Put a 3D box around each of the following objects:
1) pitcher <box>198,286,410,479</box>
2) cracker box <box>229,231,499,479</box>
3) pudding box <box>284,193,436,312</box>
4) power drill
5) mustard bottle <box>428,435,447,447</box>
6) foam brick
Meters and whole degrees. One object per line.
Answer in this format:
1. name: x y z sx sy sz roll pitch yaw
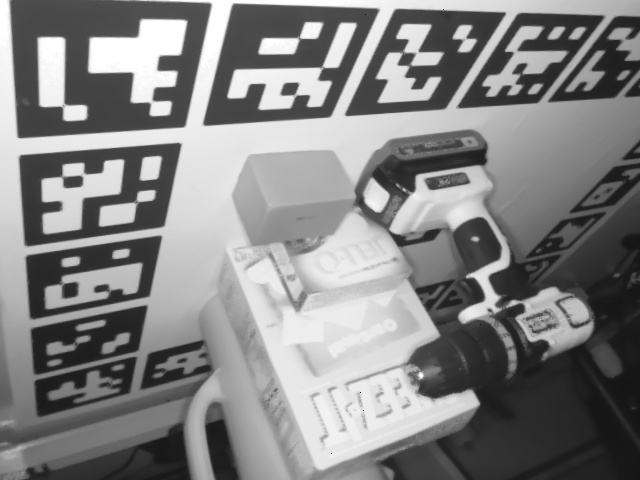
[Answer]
1. pitcher: -0.033 0.156 0.671 0.192 0.242 0.131 -6 143 -33
2. cracker box: 0.035 0.082 0.624 0.167 0.213 0.071 -11 147 -27
3. pudding box: 0.034 0.009 0.621 0.115 0.090 0.038 -10 146 -30
4. power drill: 0.132 0.015 0.570 0.187 0.187 0.056 -8 147 -26
5. mustard bottle: 0.081 0.130 0.739 0.098 0.191 0.057 2 138 -38
6. foam brick: -0.012 -0.049 0.566 0.079 0.051 0.052 -7 141 -29
